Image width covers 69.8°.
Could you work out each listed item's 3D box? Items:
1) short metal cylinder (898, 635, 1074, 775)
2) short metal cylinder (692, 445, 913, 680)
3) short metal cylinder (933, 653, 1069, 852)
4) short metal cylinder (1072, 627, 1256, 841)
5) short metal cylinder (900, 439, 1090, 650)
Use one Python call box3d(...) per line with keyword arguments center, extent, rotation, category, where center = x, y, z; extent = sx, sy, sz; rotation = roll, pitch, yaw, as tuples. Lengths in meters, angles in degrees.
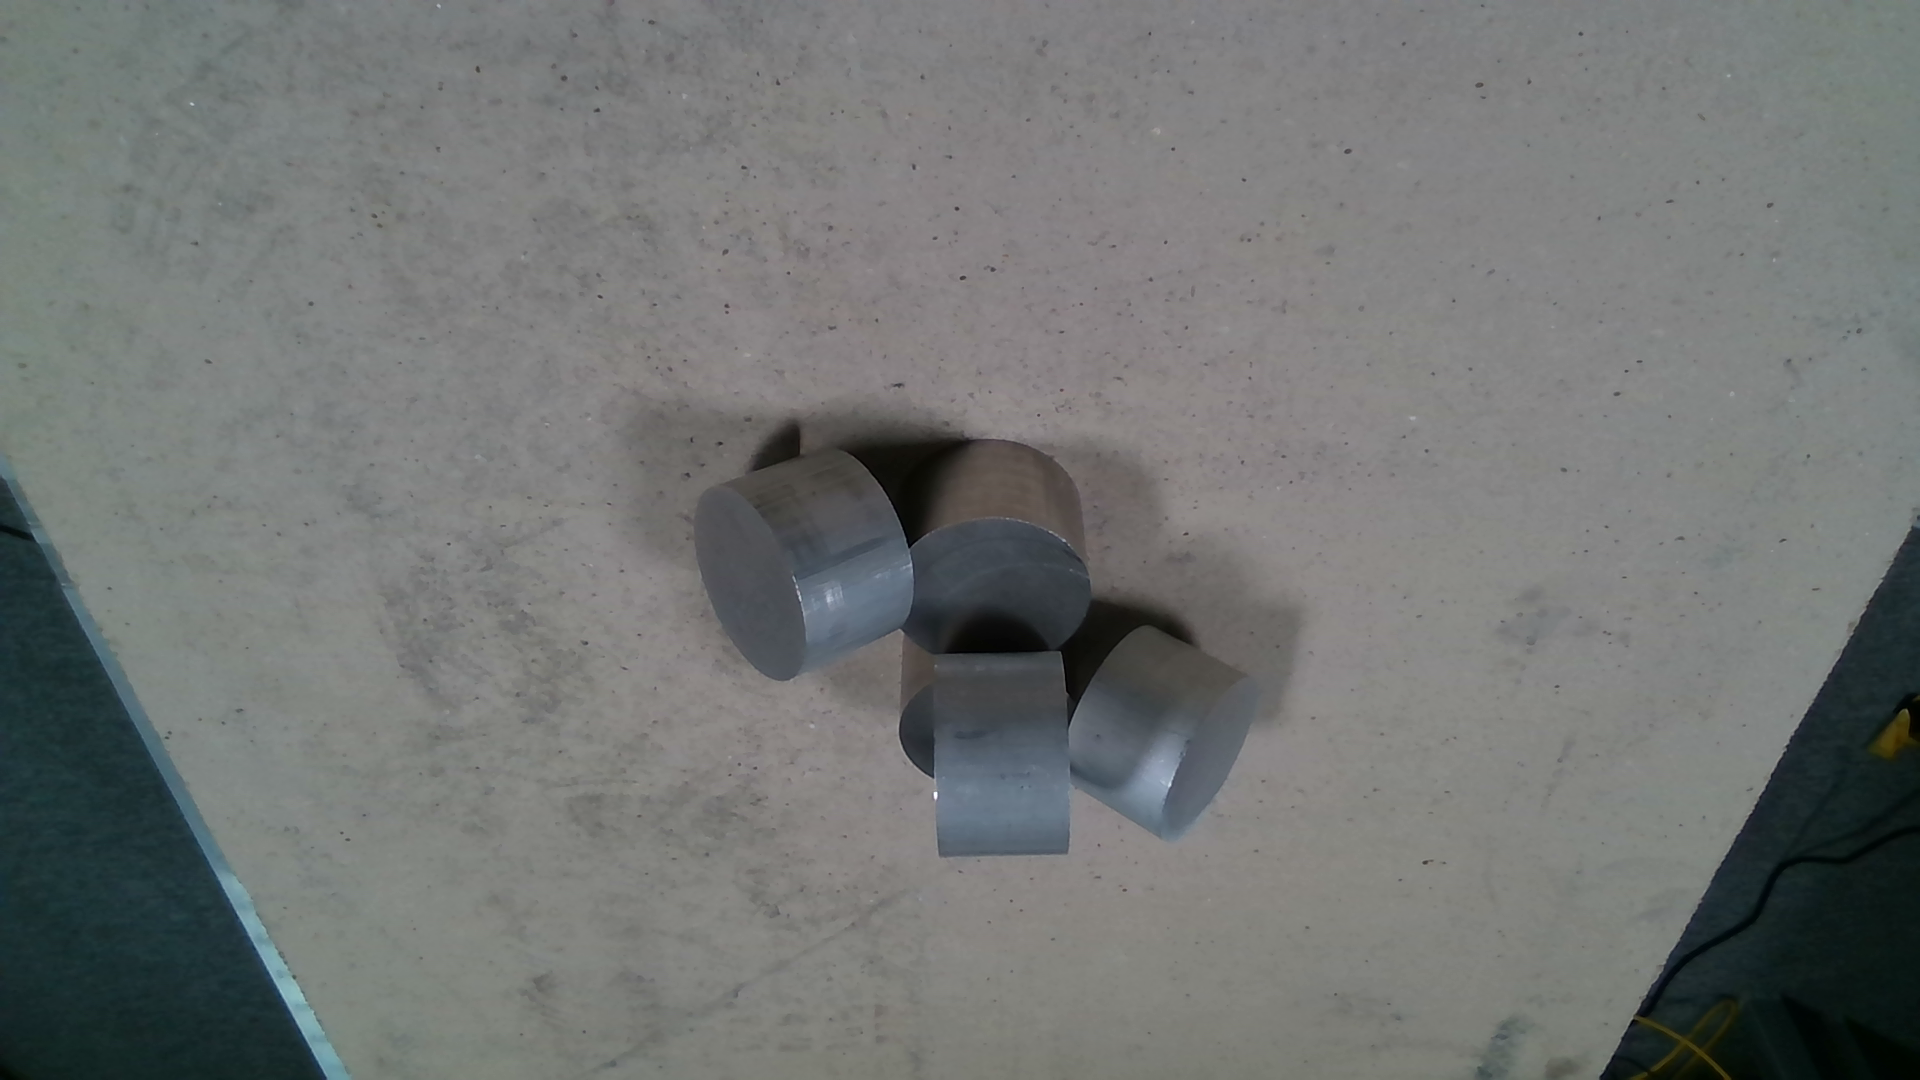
box3d(center=(0.013, 0.067, 0.619), extent=(0.080, 0.050, 0.080), rotation=(0, 130, 0), category="short metal cylinder")
box3d(center=(-0.063, 0.008, 0.542), extent=(0.050, 0.080, 0.080), rotation=(-23, 140, -33), category="short metal cylinder")
box3d(center=(0.016, 0.084, 0.549), extent=(0.050, 0.080, 0.080), rotation=(-1, 130, 1), category="short metal cylinder")
box3d(center=(0.088, 0.084, 0.605), extent=(0.050, 0.080, 0.080), rotation=(27, 137, 28), category="short metal cylinder")
box3d(center=(0.012, 0.006, 0.567), extent=(0.080, 0.050, 0.080), rotation=(0, 130, 0), category="short metal cylinder")
